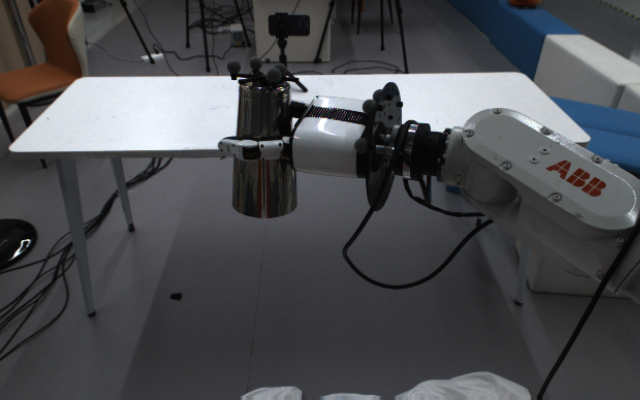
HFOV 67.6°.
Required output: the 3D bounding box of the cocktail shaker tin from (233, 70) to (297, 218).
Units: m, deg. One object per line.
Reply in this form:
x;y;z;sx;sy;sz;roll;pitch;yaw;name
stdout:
-0.074;-0.072;0.653;0.093;0.170;0.093;2;26;-1;cocktail shaker tin
